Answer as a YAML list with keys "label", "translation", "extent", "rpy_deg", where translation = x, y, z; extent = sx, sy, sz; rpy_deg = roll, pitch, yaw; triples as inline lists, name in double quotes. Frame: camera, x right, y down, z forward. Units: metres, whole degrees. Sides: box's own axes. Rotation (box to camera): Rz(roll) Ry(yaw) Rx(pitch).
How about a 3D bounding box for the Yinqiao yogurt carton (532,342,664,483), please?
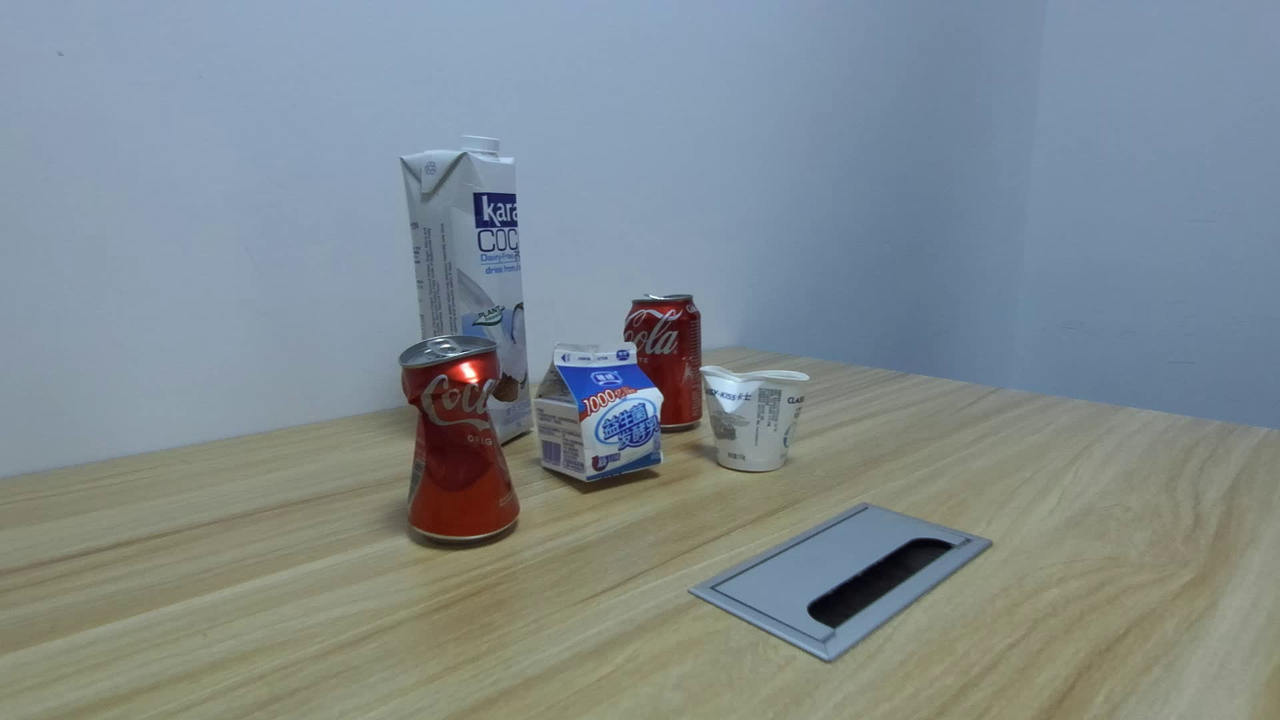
- label: "Yinqiao yogurt carton"
  translation: [-0.027, 0.033, 0.506]
  extent: [0.075, 0.097, 0.080]
  rpy_deg: [-8, 7, -34]

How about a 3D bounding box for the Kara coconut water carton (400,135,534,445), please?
- label: "Kara coconut water carton"
  translation: [-0.139, -0.053, 0.576]
  extent: [0.075, 0.245, 0.077]
  rpy_deg: [3, 11, 22]

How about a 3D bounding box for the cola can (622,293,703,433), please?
- label: "cola can"
  translation: [0.022, 0.000, 0.627]
  extent: [0.072, 0.117, 0.065]
  rpy_deg: [-12, 18, -41]

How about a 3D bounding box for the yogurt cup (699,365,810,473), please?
- label: "yogurt cup"
  translation: [0.083, 0.041, 0.526]
  extent: [0.075, 0.071, 0.053]
  rpy_deg: [0, 12, -1]

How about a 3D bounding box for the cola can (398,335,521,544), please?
- label: "cola can"
  translation: [-0.106, 0.045, 0.412]
  extent: [0.065, 0.112, 0.069]
  rpy_deg: [-1, 11, 0]
